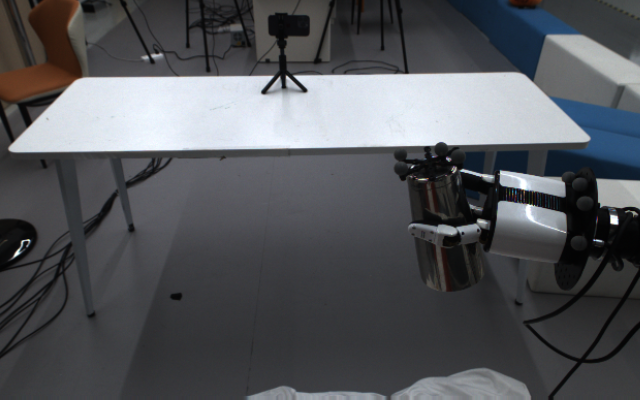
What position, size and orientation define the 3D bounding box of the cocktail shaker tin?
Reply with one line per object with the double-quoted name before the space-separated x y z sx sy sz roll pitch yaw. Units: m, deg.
"cocktail shaker tin" 0.167 0.028 0.657 0.093 0.170 0.093 -15 29 8
